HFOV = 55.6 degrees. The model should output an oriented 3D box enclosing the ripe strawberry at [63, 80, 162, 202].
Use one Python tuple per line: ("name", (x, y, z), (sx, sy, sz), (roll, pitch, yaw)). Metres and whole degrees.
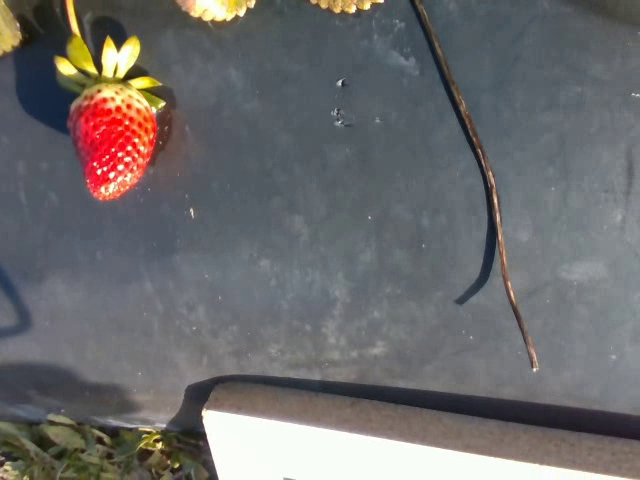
("ripe strawberry", (-0.061, -0.028, 0.177), (0.028, 0.041, 0.031), (-18, -29, 29))
